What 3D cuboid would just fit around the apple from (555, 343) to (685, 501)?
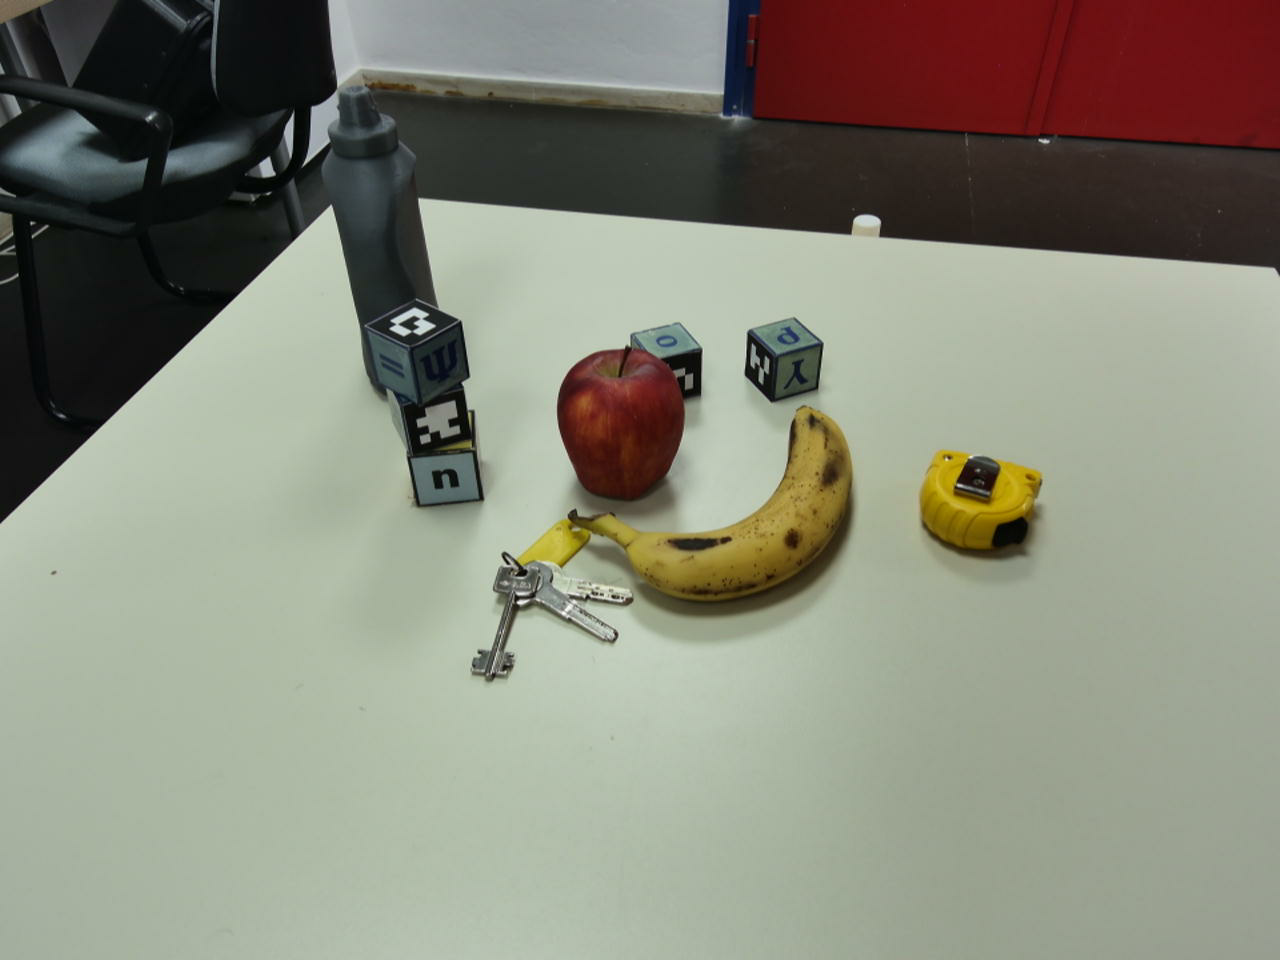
[{"bbox_3d":[-0.012,-0.038,0.583,0.083,0.090,0.083,-1,39,1],"label":"apple"}]
